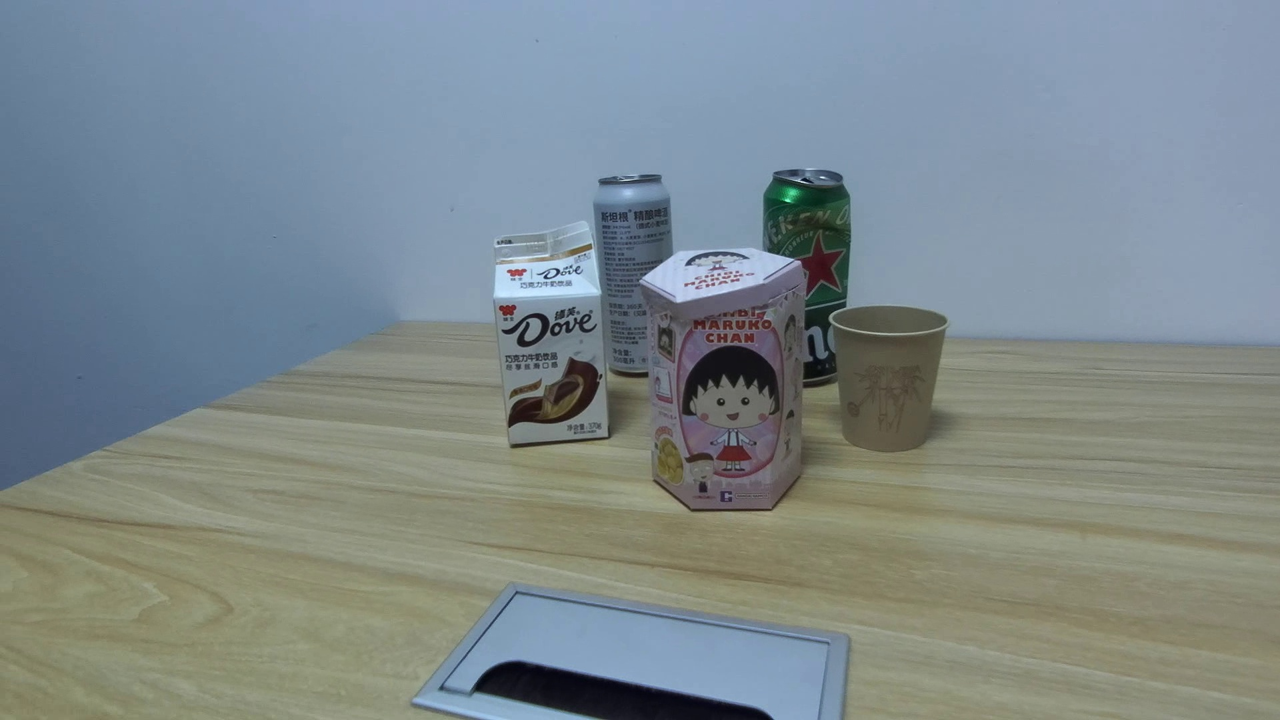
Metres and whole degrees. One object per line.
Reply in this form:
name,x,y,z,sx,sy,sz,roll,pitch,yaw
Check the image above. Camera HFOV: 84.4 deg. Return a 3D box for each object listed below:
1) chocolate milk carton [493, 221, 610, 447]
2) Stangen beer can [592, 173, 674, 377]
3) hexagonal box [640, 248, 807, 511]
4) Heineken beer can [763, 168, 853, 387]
chocolate milk carton,-0.062,-0.022,0.511,0.075,0.148,0.074,-4,17,-3
Stangen beer can,-0.005,-0.073,0.619,0.067,0.171,0.067,-2,12,1
hexagonal box,0.050,0.010,0.414,0.092,0.135,0.085,-2,19,7
Heineken beer can,0.134,-0.065,0.573,0.068,0.168,0.069,4,23,16
